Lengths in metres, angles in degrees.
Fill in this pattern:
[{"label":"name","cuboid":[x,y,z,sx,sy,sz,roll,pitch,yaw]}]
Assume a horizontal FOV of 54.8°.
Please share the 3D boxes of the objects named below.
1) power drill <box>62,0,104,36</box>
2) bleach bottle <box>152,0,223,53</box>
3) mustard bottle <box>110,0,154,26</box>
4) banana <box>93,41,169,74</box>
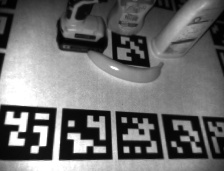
[{"label":"power drill","cuboid":[-0.030,-0.192,0.456,0.186,0.186,0.057,4,58,-19]},{"label":"bleach bottle","cuboid":[0.194,-0.170,0.518,0.103,0.250,0.067,-2,67,-18]},{"label":"mustard bottle","cuboid":[0.064,-0.228,0.525,0.097,0.191,0.058,7,63,-15]},{"label":"banana","cuboid":[0.049,-0.067,0.531,0.198,0.039,0.074,9,68,-12]}]
